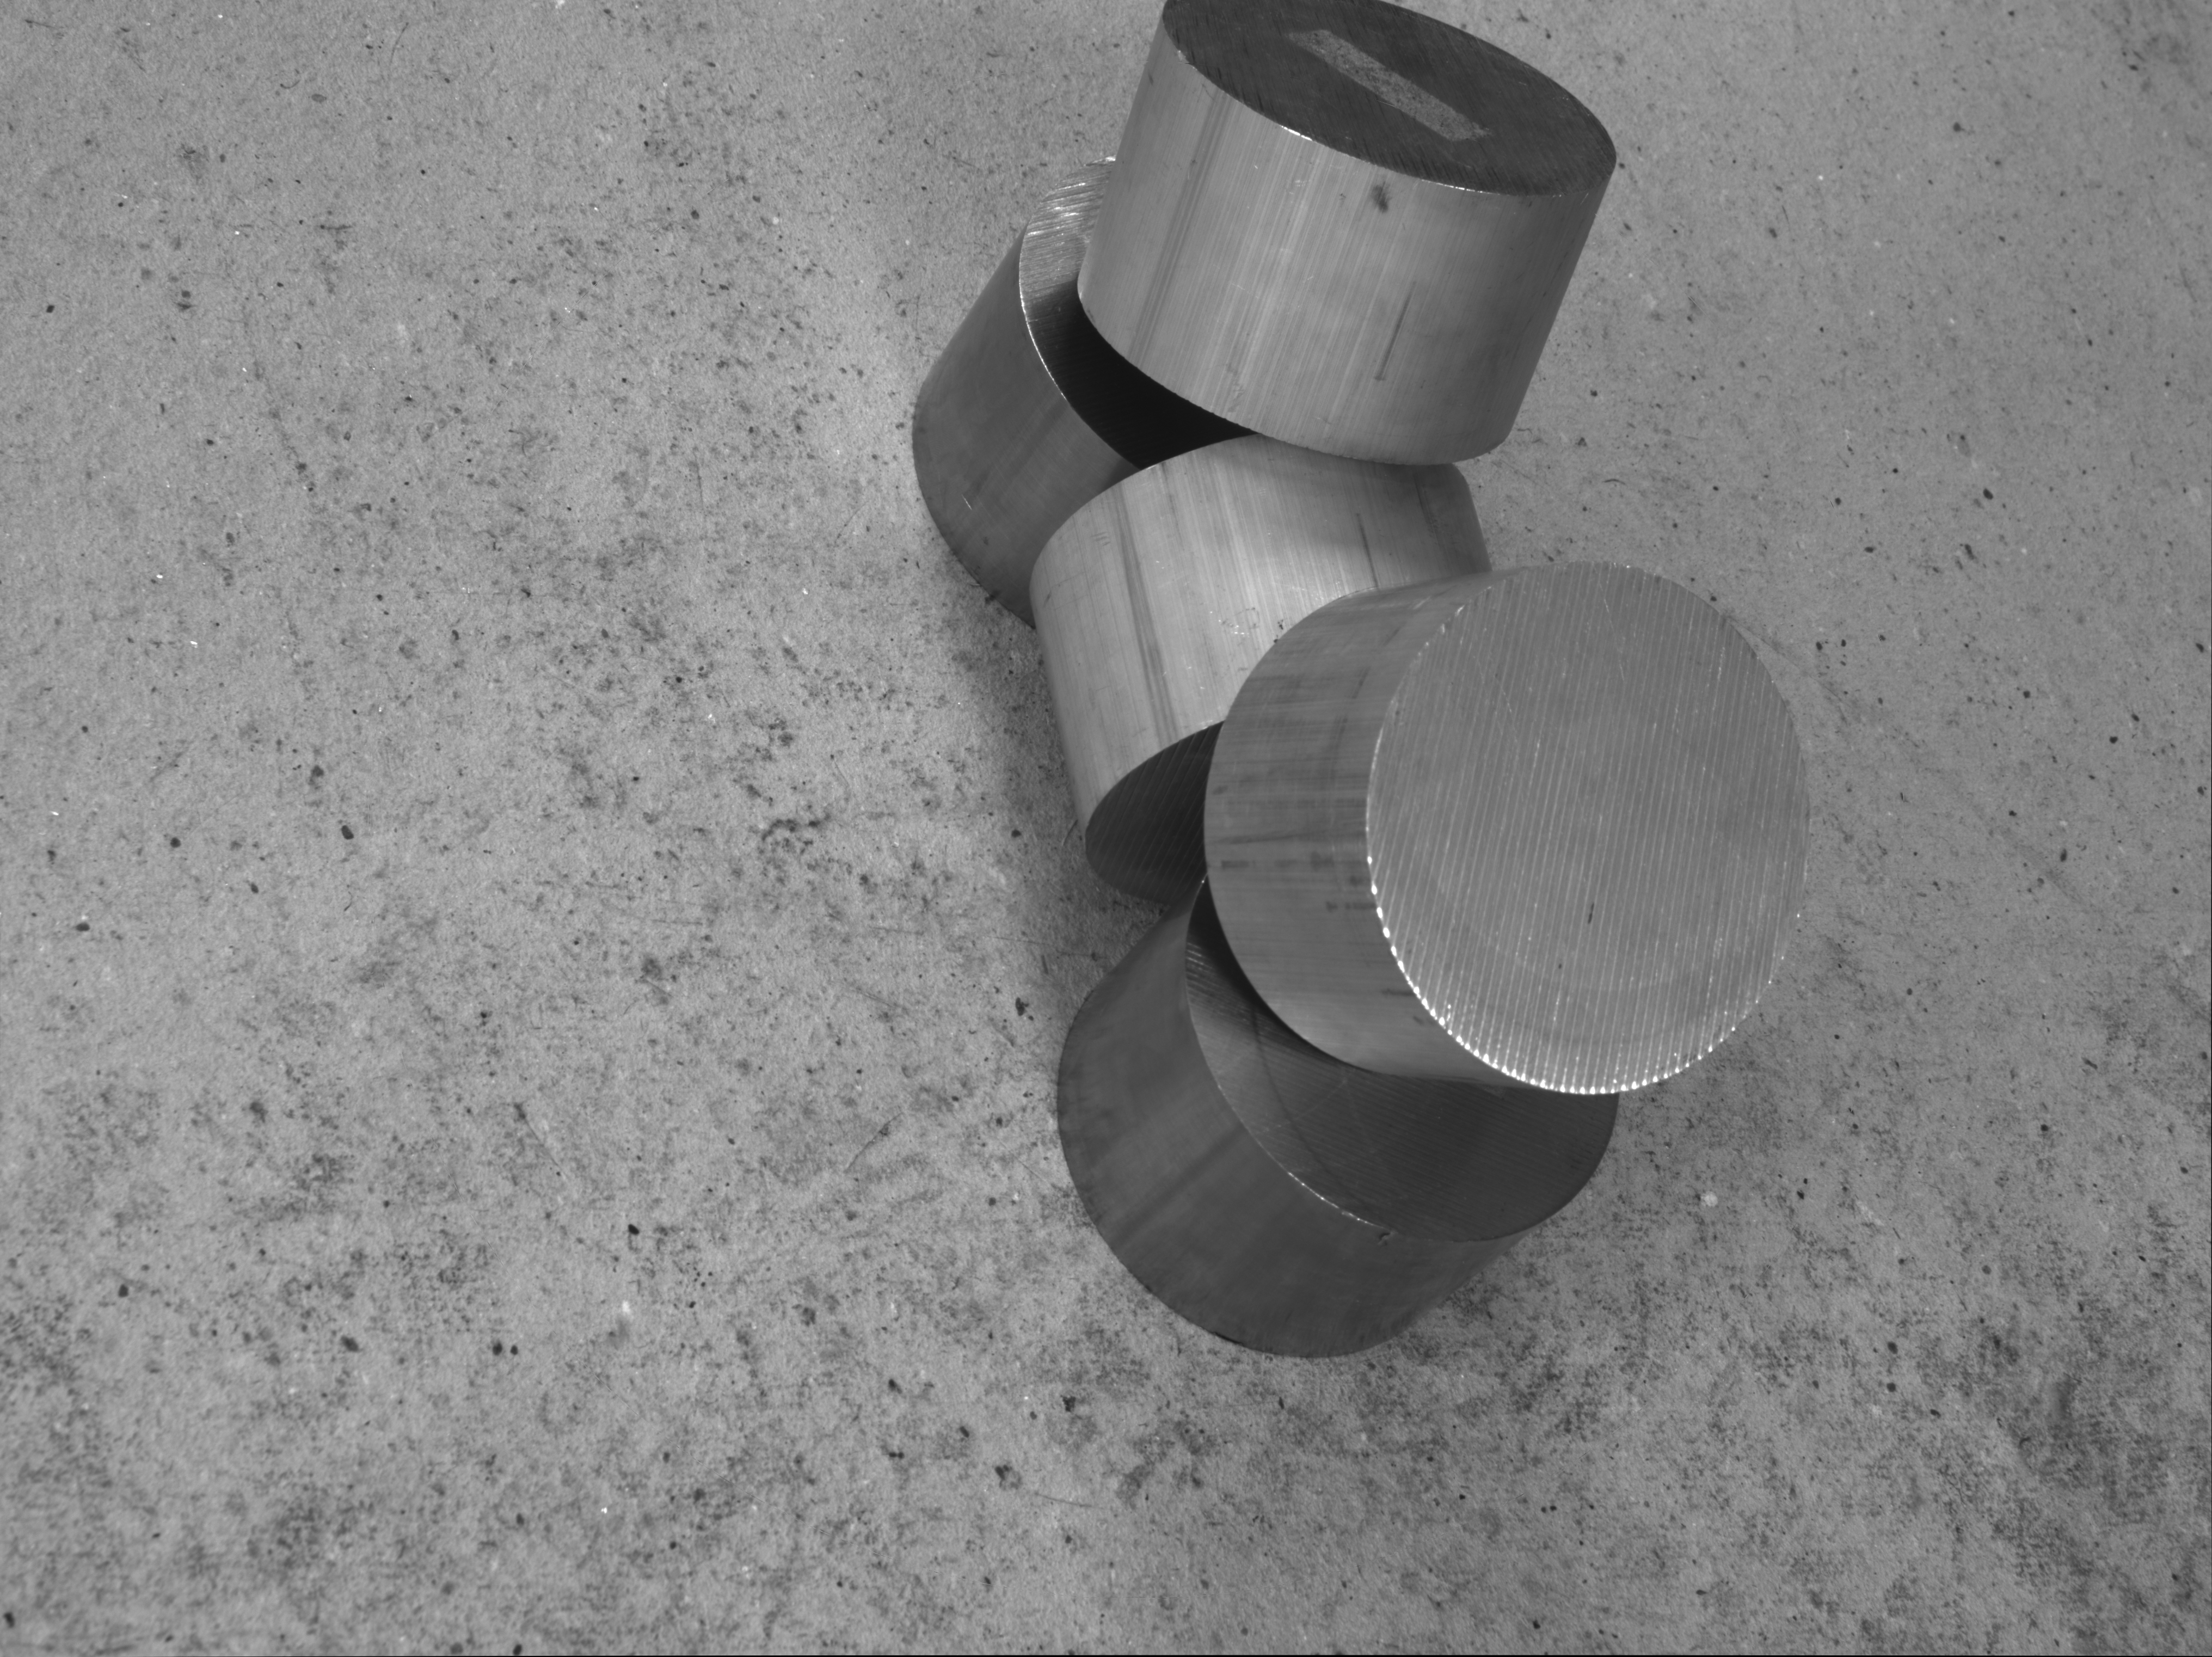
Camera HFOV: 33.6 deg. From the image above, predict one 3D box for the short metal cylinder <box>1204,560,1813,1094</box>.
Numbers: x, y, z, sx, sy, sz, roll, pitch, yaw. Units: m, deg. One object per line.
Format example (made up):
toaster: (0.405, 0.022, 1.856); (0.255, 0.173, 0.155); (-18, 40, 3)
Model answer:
short metal cylinder: (0.062, 0.000, 0.571); (0.080, 0.050, 0.080); (0, 89, -27)

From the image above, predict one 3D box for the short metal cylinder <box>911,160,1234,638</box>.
short metal cylinder: (0.011, -0.077, 0.676); (0.080, 0.050, 0.080); (14, 56, -21)

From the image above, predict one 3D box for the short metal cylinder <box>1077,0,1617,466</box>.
short metal cylinder: (0.040, -0.104, 0.625); (0.080, 0.050, 0.080); (15, 31, -9)

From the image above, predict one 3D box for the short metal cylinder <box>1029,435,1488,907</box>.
short metal cylinder: (0.031, -0.026, 0.637); (0.080, 0.080, 0.050); (2, 61, -27)

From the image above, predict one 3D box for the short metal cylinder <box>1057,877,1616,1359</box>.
short metal cylinder: (0.038, 0.043, 0.618); (0.080, 0.050, 0.080); (14, 56, -21)
